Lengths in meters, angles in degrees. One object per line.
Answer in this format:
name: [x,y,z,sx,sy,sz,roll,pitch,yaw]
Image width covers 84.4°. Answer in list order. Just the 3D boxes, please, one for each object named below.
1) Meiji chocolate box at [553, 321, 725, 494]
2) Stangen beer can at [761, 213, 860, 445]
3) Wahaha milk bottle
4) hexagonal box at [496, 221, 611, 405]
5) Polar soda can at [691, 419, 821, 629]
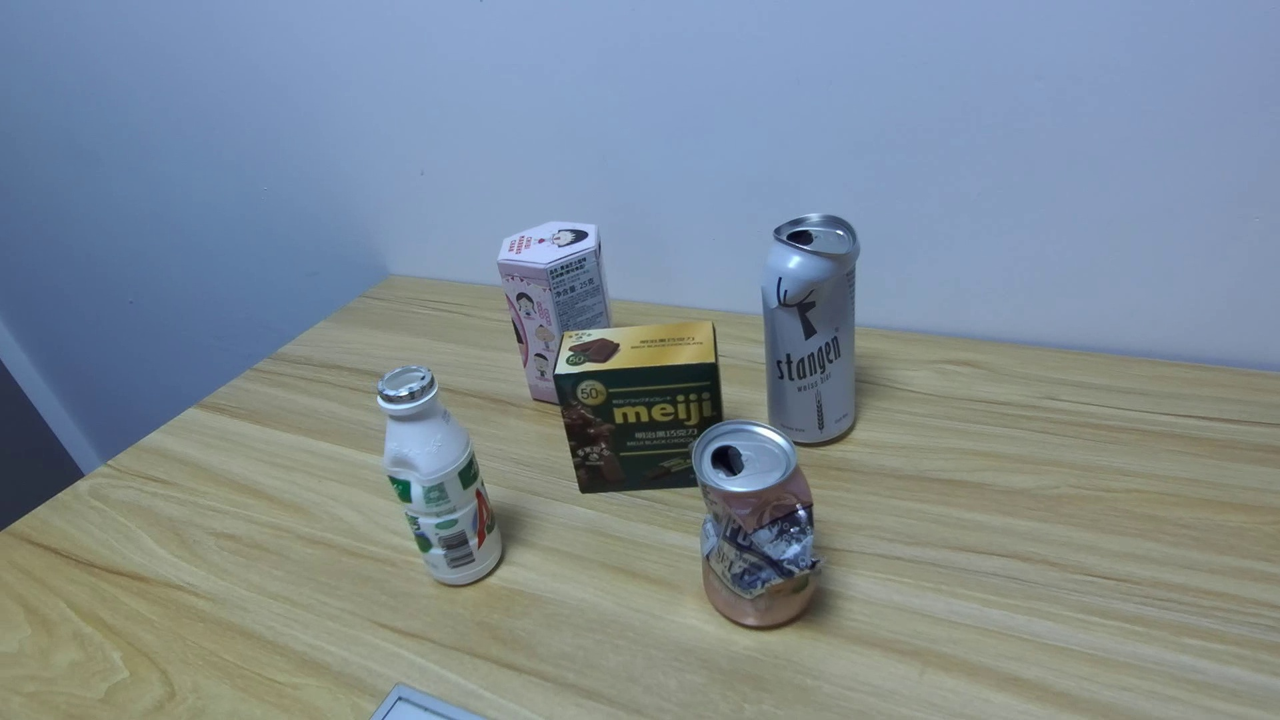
Meiji chocolate box: [0.004,0.035,0.496,0.110,0.109,0.056,-4,33,7]
Stangen beer can: [0.122,-0.018,0.500,0.065,0.162,0.077,-2,34,11]
Wahaha milk bottle: [-0.123,0.077,0.435,0.053,0.137,0.053,-5,33,4]
hexagonal box: [-0.066,-0.038,0.598,0.084,0.136,0.091,-7,32,2]
Polar soda can: [0.064,0.092,0.392,0.074,0.114,0.070,0,39,20]
